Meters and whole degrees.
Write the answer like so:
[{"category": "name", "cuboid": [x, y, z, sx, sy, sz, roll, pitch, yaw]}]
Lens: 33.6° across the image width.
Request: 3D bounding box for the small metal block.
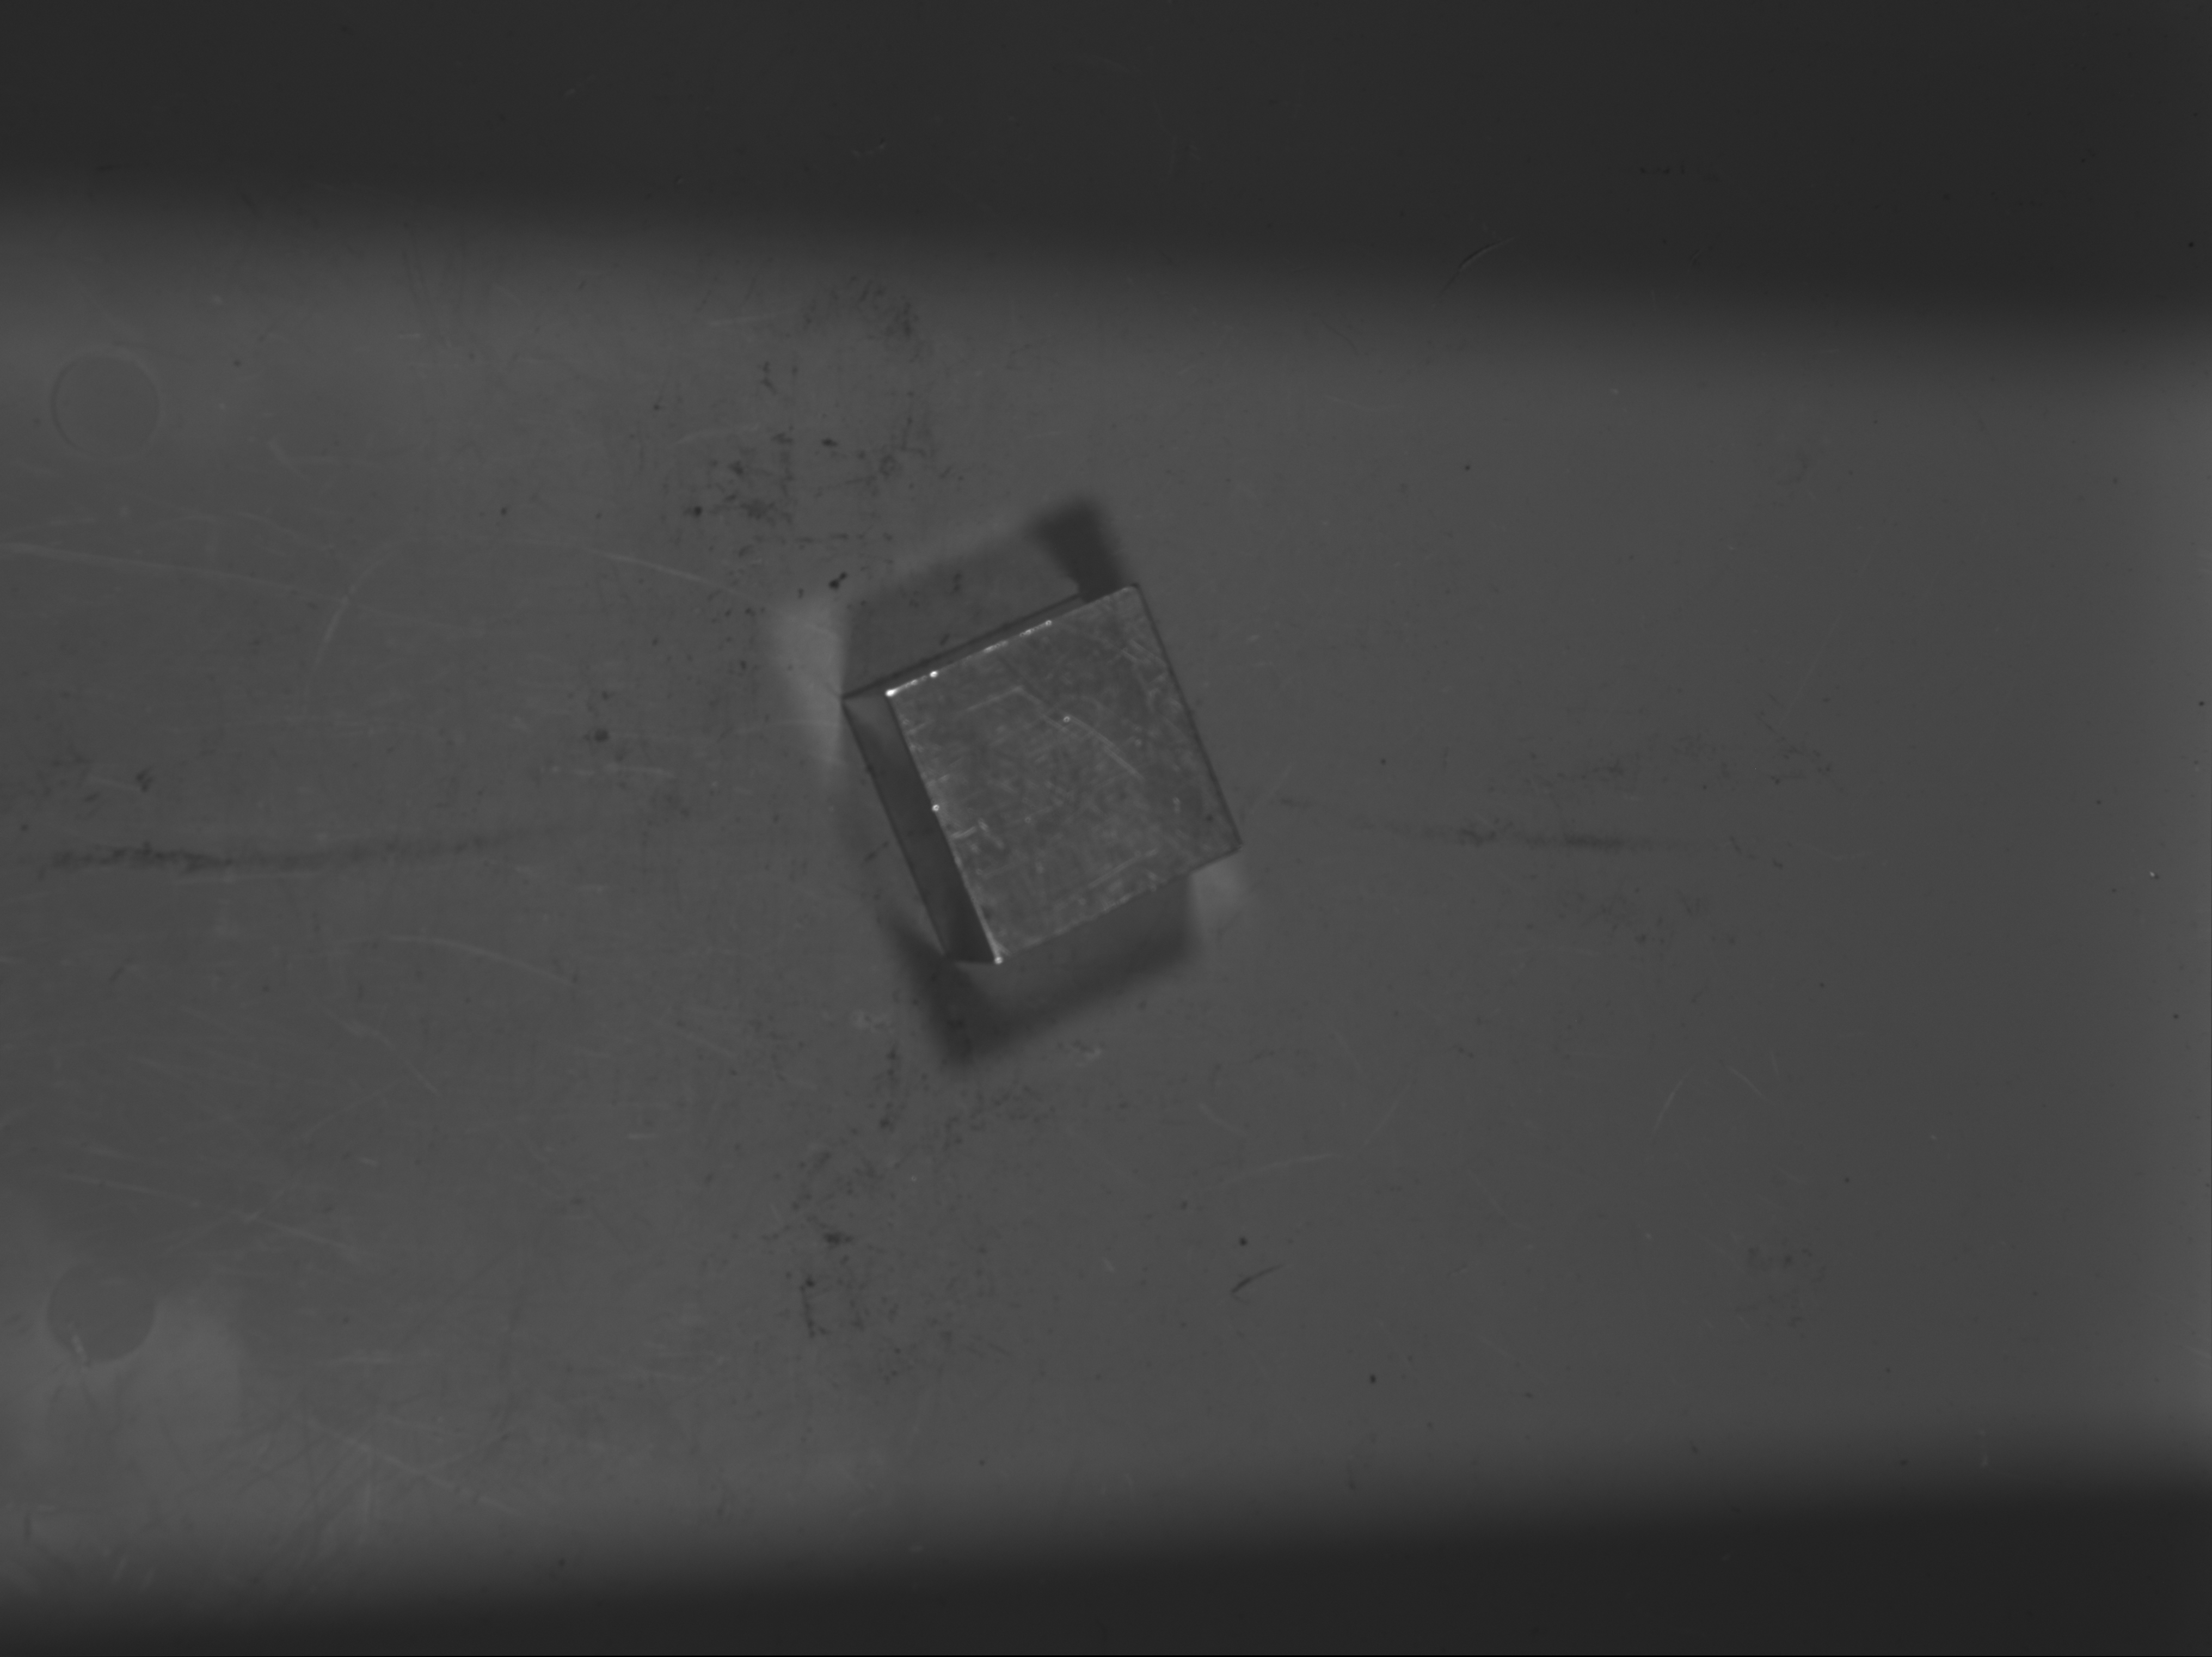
[{"category": "small metal block", "cuboid": [-0.004, -0.009, 0.639, 0.050, 0.025, 0.050, -24, 98, -18]}]
